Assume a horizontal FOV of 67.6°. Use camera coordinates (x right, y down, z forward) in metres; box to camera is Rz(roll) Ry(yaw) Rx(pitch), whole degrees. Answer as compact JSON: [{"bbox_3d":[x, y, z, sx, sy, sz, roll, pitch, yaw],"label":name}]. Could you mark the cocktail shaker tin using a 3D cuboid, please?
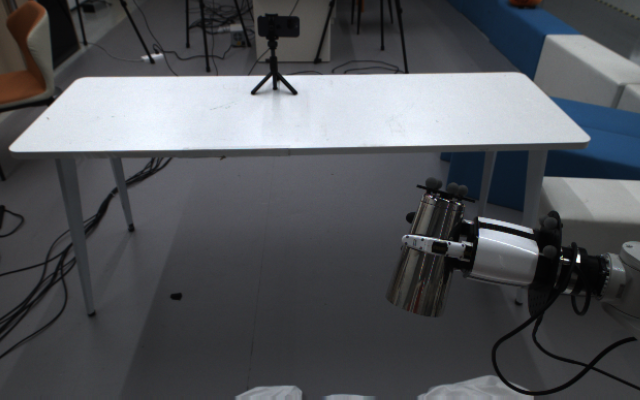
[{"bbox_3d":[0.168,0.079,0.740,0.093,0.170,0.093,14,6,-2],"label":"cocktail shaker tin"}]
